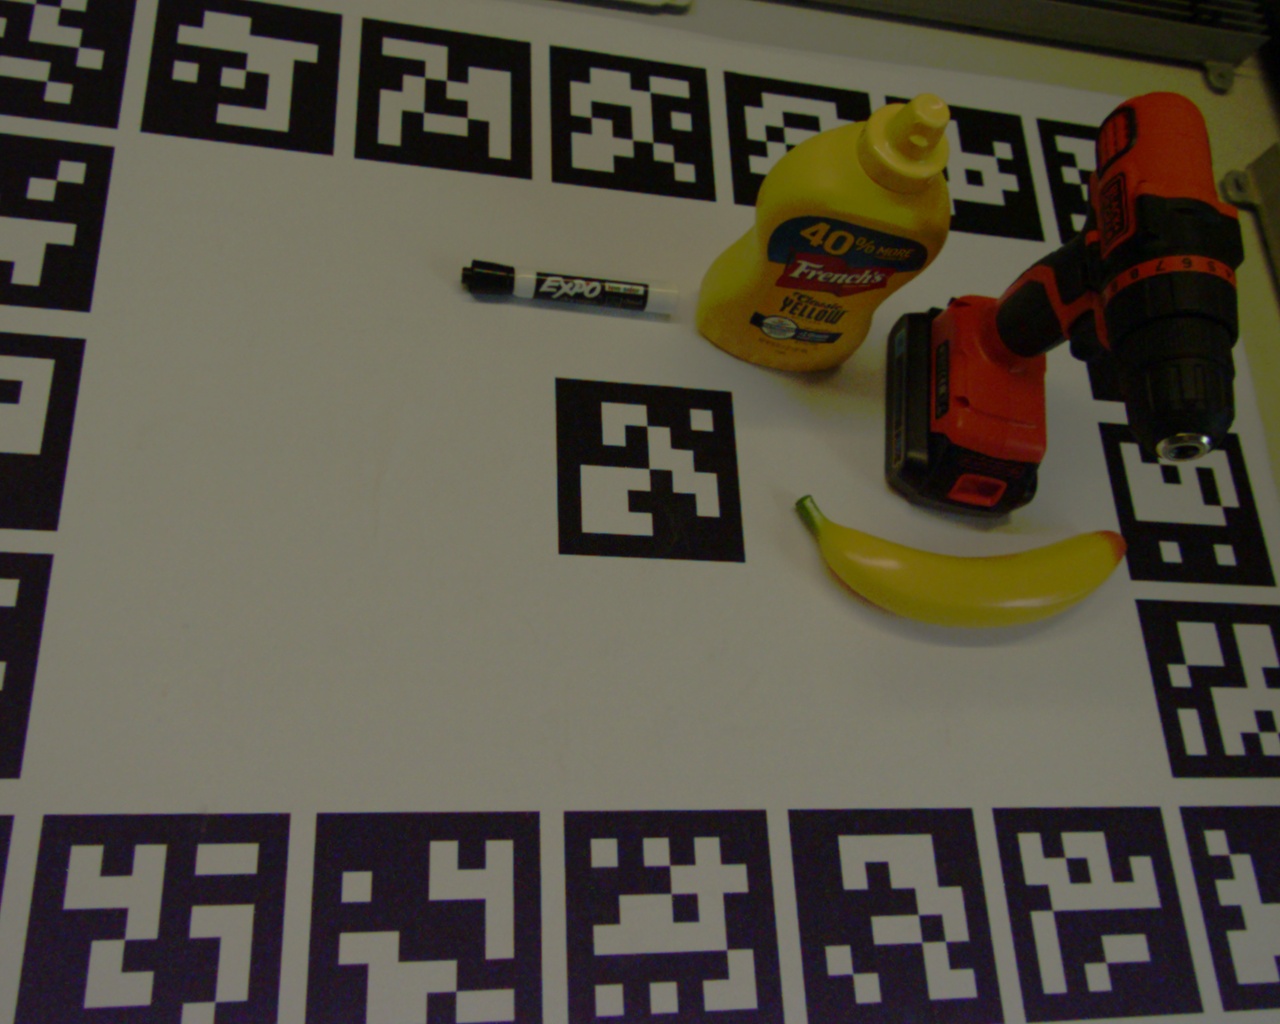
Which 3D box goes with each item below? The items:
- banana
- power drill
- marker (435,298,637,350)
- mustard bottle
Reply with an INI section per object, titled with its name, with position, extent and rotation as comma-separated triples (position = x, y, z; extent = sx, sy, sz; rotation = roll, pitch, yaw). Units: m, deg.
[banana]
position = 0.161, 0.047, 0.675
extent = 0.196, 0.039, 0.074
rotation = 10, 70, -9
[power drill]
position = 0.191, -0.066, 0.619
extent = 0.057, 0.188, 0.184
rotation = 16, 65, -12
[marker]
position = -0.062, -0.113, 0.683
extent = 0.120, 0.020, 0.020
rotation = 4, 71, -13
[mustard bottle]
position = 0.082, -0.126, 0.630
extent = 0.095, 0.192, 0.058
rotation = 13, 68, -12
